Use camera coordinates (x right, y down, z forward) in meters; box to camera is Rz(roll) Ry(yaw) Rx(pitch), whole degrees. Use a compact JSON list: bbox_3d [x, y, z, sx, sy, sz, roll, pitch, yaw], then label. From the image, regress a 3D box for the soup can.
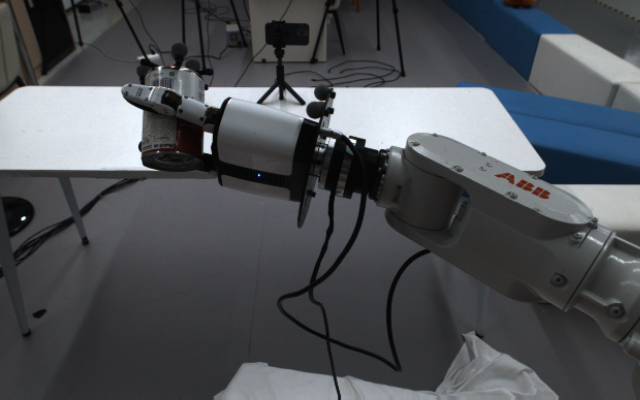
[{"bbox_3d":[-0.163,-0.089,0.544,0.067,0.067,0.101,-1,77,-5],"label":"soup can"}]
